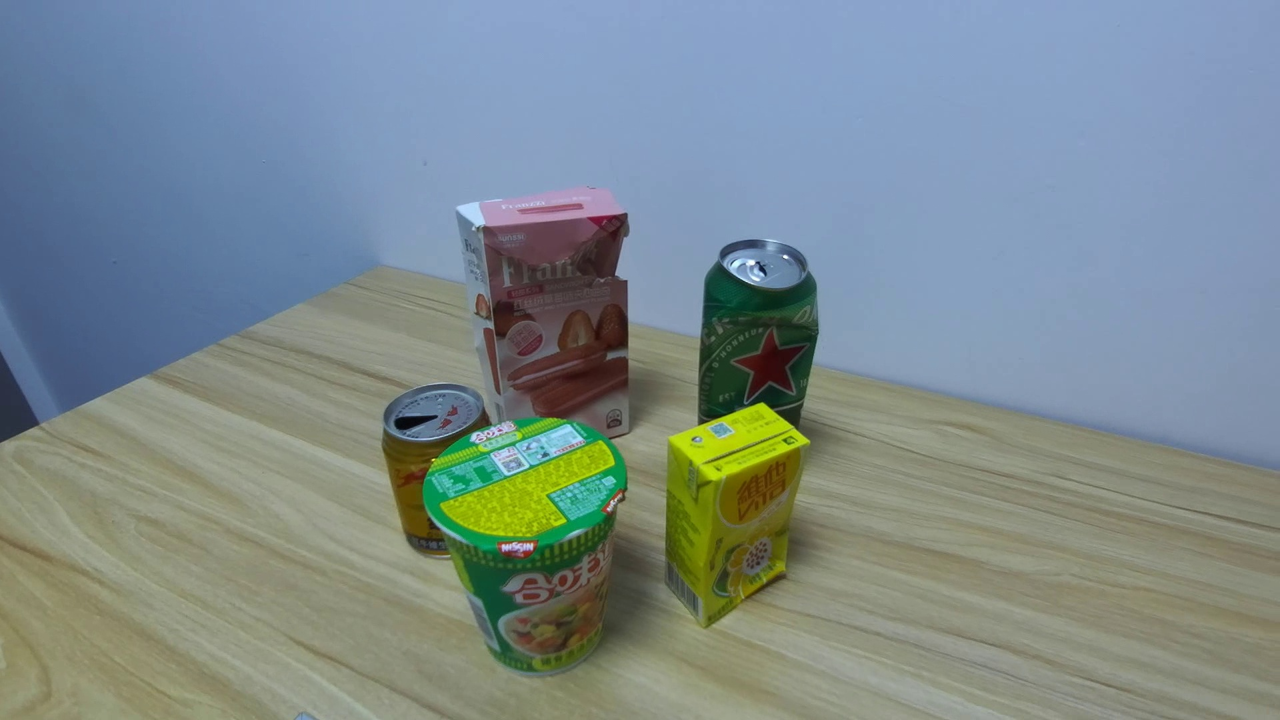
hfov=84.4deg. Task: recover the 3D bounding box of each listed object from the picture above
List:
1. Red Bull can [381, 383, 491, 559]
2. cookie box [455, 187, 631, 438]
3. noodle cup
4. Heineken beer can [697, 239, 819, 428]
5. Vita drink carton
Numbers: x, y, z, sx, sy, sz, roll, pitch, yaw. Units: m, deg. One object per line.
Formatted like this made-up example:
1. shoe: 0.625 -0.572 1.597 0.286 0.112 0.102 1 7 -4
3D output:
1. Red Bull can: -0.124 0.069 0.450 0.068 0.093 0.068 1 31 0
2. cookie box: -0.062 -0.021 0.504 0.105 0.186 0.059 -12 34 -19
3. noodle cup: -0.056 0.103 0.370 0.097 0.110 0.097 1 31 0
4. Heineken beer can: 0.073 0.009 0.462 0.068 0.168 0.069 15 39 20
5. Vita drink carton: 0.055 0.085 0.395 0.077 0.109 0.043 -17 35 -25
